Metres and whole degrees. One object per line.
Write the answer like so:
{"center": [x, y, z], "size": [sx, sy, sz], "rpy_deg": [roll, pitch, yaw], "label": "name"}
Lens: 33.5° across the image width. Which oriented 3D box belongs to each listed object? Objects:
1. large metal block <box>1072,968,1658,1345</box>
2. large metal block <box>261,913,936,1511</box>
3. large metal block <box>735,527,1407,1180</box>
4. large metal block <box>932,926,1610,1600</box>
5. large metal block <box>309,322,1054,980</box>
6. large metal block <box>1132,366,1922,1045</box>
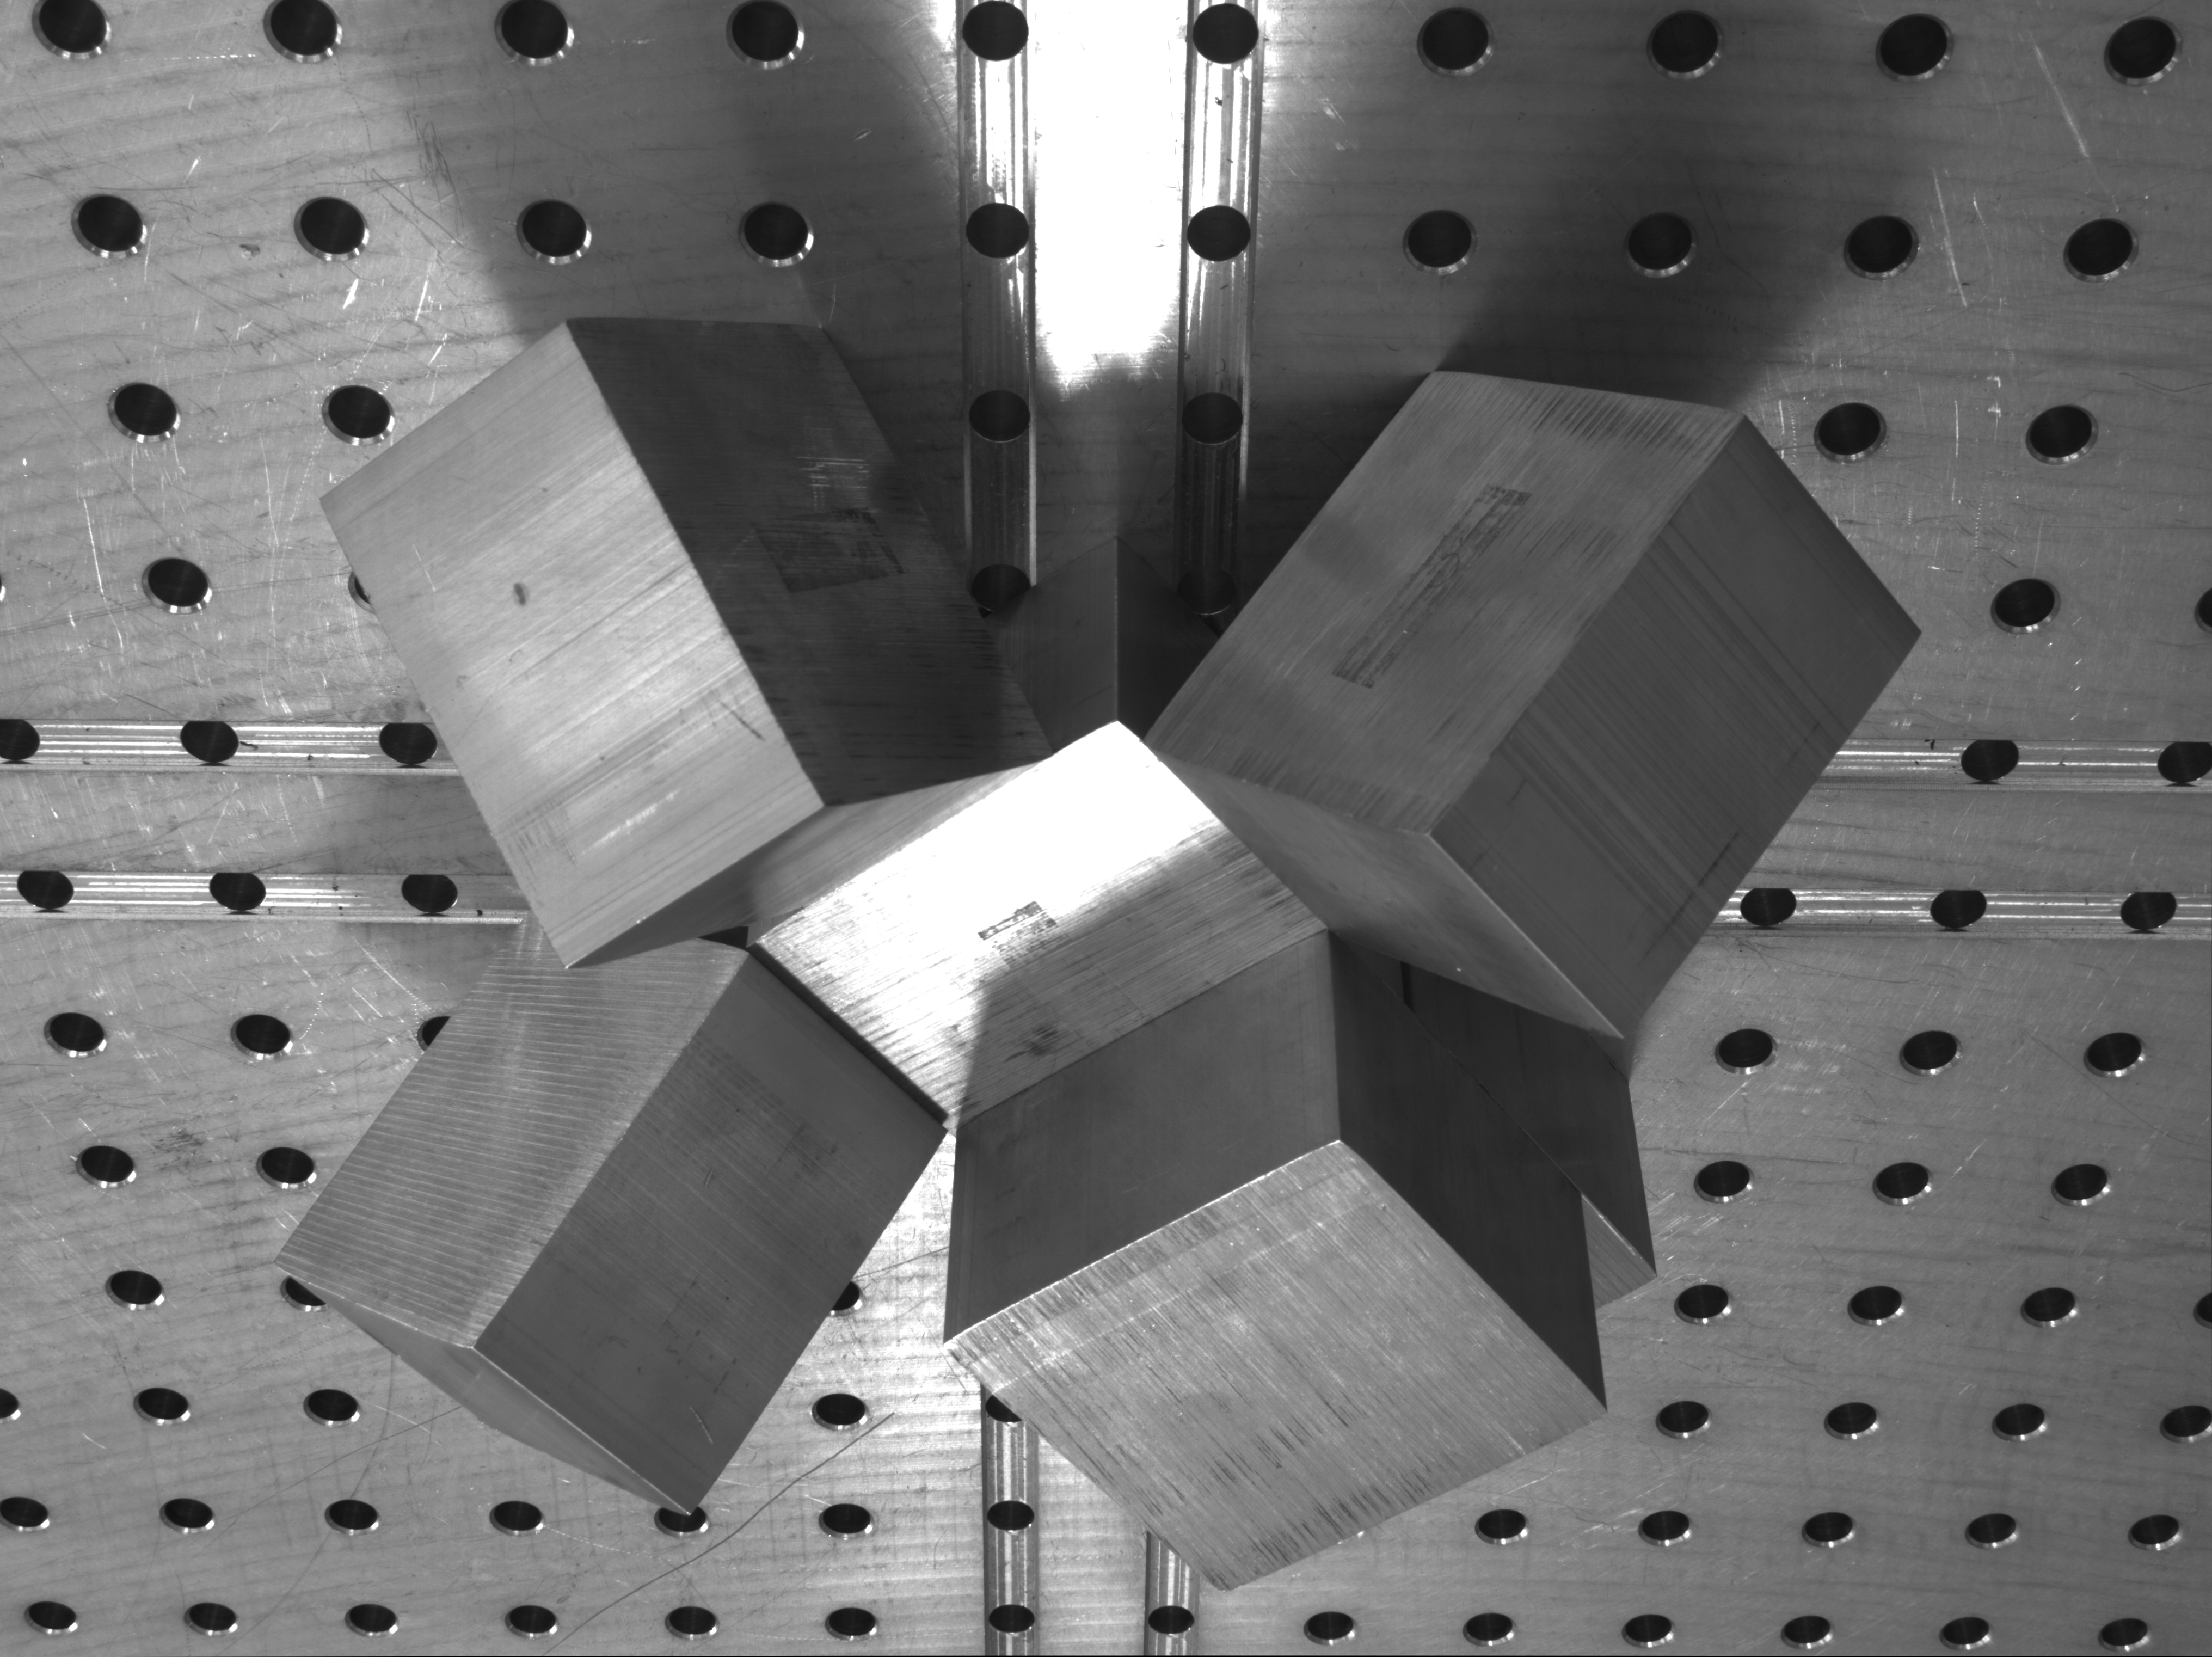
{"center": [0.043, 0.059, 0.675], "size": [0.080, 0.050, 0.080], "rpy_deg": [-30, 122, 22], "label": "large metal block"}
{"center": [-0.089, 0.063, 0.640], "size": [0.050, 0.080, 0.080], "rpy_deg": [45, 159, -30], "label": "large metal block"}
{"center": [-0.005, 0.008, 0.634], "size": [0.080, 0.050, 0.080], "rpy_deg": [-31, 123, 23], "label": "large metal block"}
{"center": [0.027, 0.075, 0.623], "size": [0.080, 0.050, 0.080], "rpy_deg": [-31, 124, 22], "label": "large metal block"}
{"center": [-0.063, -0.029, 0.562], "size": [0.050, 0.080, 0.080], "rpy_deg": [-31, 84, 23], "label": "large metal block"}
{"center": [0.064, -0.022, 0.569], "size": [0.050, 0.080, 0.080], "rpy_deg": [44, 78, -30], "label": "large metal block"}
